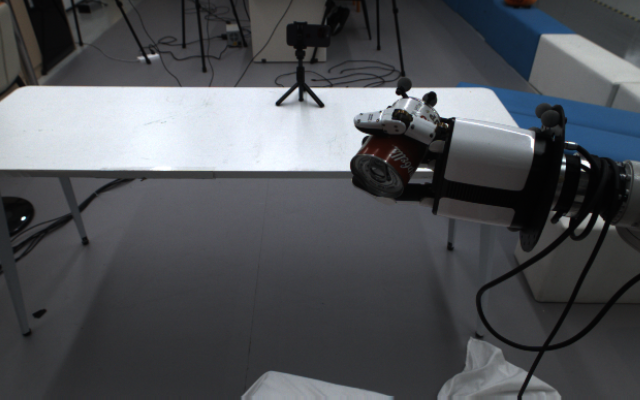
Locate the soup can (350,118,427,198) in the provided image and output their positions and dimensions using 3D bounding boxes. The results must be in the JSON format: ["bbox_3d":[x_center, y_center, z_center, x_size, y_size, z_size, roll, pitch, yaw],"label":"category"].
[{"bbox_3d":[0.091,-0.062,0.557,0.067,0.067,0.101,22,61,26],"label":"soup can"}]
